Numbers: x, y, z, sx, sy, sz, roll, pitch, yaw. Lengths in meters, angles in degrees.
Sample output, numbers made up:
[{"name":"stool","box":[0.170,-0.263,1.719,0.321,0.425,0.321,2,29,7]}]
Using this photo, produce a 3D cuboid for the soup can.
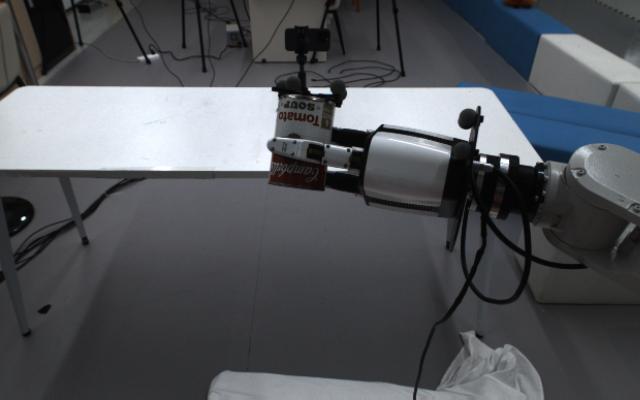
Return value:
[{"name":"soup can","box":[-0.020,-0.066,0.563,0.067,0.101,0.067,7,4,0]}]
